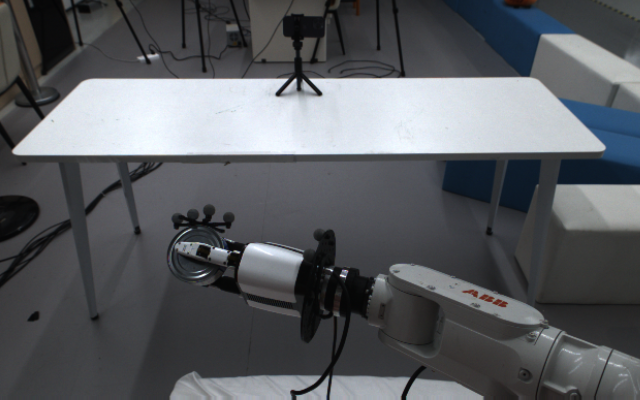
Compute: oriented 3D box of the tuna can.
[{"bbox_3d":[-0.171,0.084,0.710,0.085,0.034,0.085,-2,69,6],"label":"tuna can"}]
